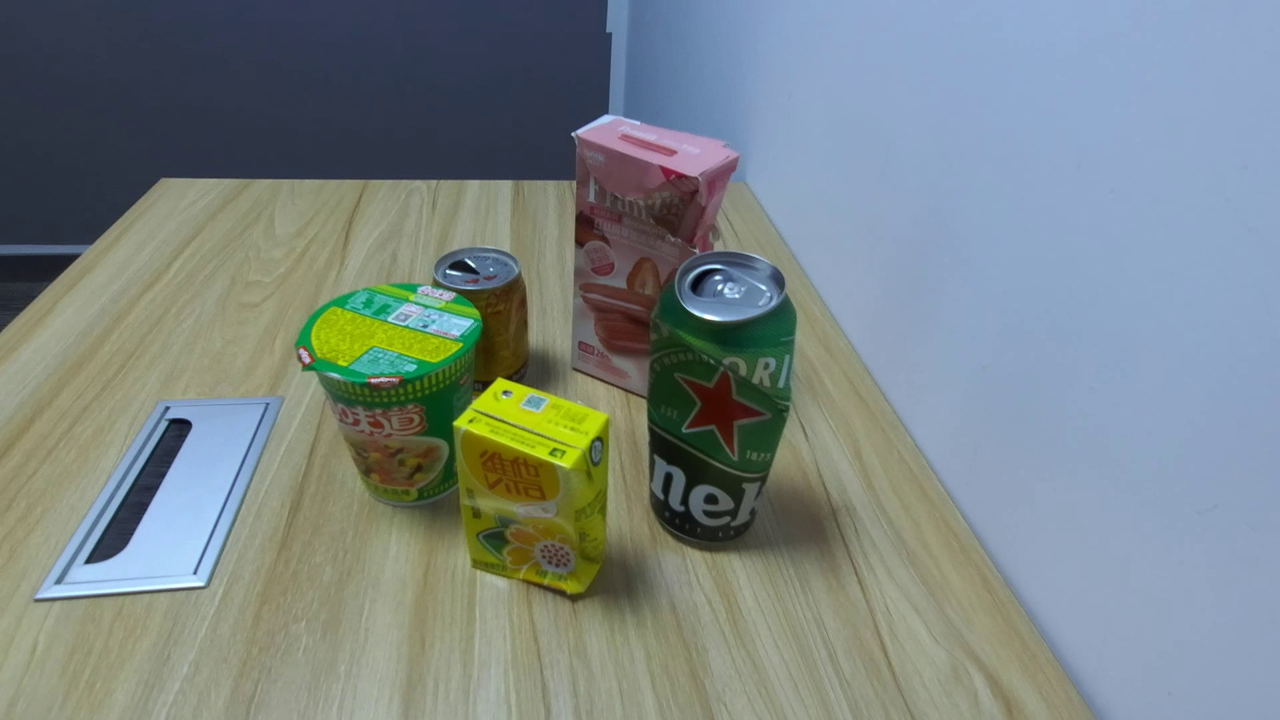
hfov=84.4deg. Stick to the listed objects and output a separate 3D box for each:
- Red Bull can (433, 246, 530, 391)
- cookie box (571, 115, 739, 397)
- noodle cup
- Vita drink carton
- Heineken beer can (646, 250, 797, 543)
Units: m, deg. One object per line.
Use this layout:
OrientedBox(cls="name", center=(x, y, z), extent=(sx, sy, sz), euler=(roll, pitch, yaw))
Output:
OrientedBox(cls="Red Bull can", center=(-0.115, -0.027, 0.517), extent=(0.068, 0.093, 0.068), euler=(3, 36, -2))
OrientedBox(cls="cookie box", center=(0.004, -0.062, 0.490), extent=(0.104, 0.186, 0.059), euler=(24, 41, 25))
OrientedBox(cls="noodle cup", center=(-0.141, 0.025, 0.424), extent=(0.097, 0.110, 0.097), euler=(3, 38, -2))
OrientedBox(cls="Vita drink carton", center=(-0.052, 0.072, 0.371), extent=(0.076, 0.109, 0.043), euler=(17, 38, 17))
OrientedBox(cls="Heineken beer can", center=(0.041, 0.028, 0.389), extent=(0.069, 0.168, 0.068), euler=(-5, 38, -8))
